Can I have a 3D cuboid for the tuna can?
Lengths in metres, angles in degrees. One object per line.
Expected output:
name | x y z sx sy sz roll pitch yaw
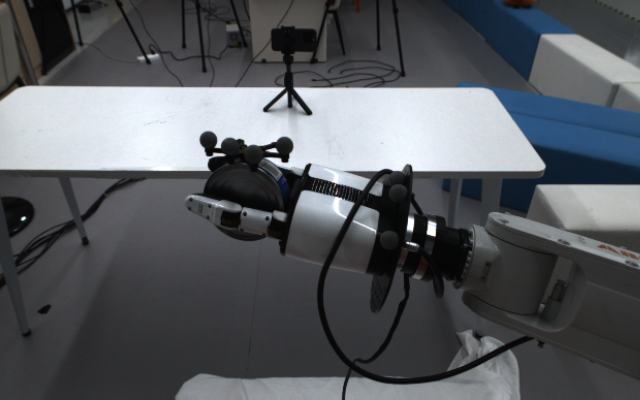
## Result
tuna can | -0.073 -0.003 0.505 0.085 0.085 0.034 9 23 9
